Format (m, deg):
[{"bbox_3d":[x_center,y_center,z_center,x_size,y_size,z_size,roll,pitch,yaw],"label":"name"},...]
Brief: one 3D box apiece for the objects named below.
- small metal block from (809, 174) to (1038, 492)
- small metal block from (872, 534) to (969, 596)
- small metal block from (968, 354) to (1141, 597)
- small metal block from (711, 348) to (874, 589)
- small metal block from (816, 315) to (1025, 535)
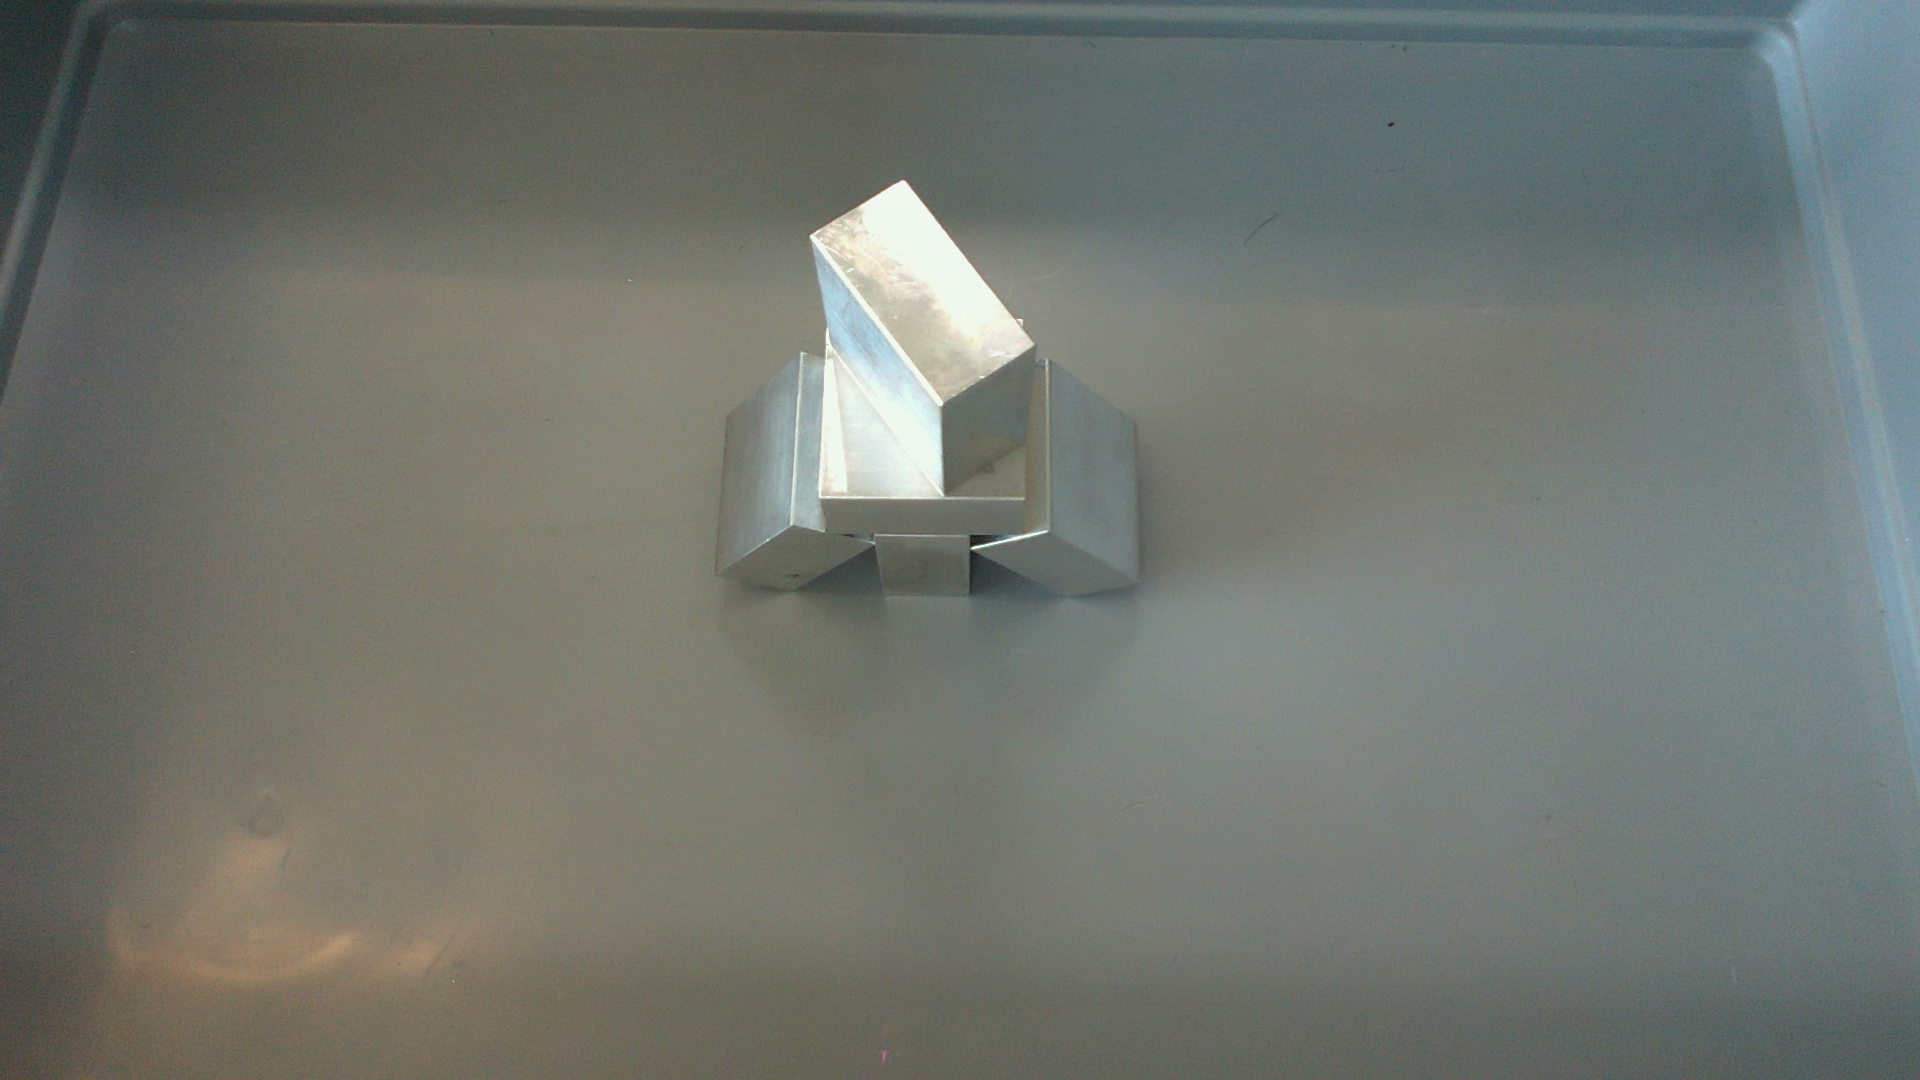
[{"bbox_3d":[-0.008,-0.046,0.316,0.025,0.050,0.050,-33,73,-11],"label":"small metal block"},{"bbox_3d":[-0.010,-0.016,0.385,0.025,0.050,0.050,1,70,0],"label":"small metal block"},{"bbox_3d":[0.027,-0.017,0.384,0.025,0.050,0.050,-13,66,32],"label":"small metal block"},{"bbox_3d":[-0.046,-0.018,0.383,0.025,0.050,0.050,13,66,-31],"label":"small metal block"},{"bbox_3d":[-0.009,-0.029,0.350,0.050,0.025,0.050,1,70,0],"label":"small metal block"}]
